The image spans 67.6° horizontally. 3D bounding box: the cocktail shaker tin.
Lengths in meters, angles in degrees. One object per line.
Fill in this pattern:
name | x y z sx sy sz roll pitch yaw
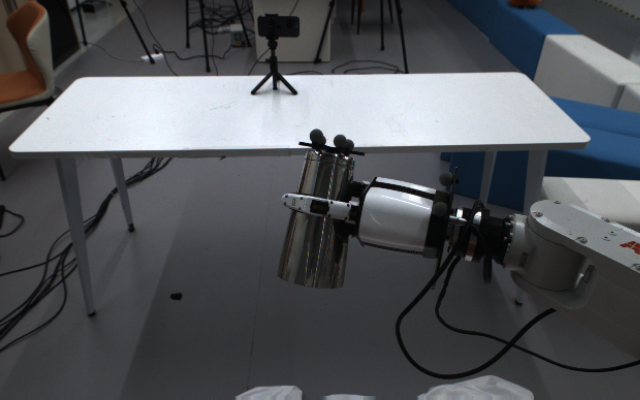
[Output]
cocktail shaker tin | 0.002 0.023 0.650 0.093 0.170 0.093 10 3 -1
